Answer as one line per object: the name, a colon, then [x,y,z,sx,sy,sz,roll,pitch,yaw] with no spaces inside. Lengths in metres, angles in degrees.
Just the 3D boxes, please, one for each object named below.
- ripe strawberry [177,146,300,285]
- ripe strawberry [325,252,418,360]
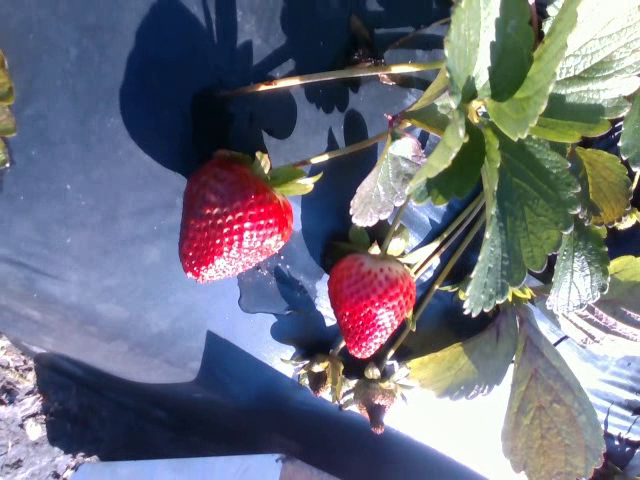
ripe strawberry: [-0.036,-0.004,0.217,0.044,0.050,0.051,20,-20,45]
ripe strawberry: [0.020,0.029,0.250,0.042,0.049,0.039,13,-4,11]
